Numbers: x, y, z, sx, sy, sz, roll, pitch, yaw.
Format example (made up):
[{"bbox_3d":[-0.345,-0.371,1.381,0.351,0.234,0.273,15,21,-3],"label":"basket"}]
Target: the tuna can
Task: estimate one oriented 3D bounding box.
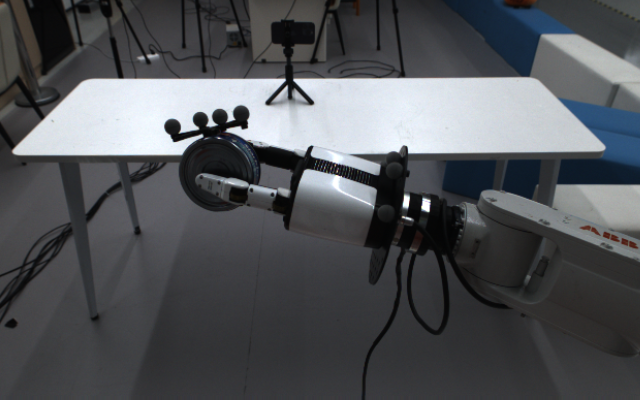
[{"bbox_3d":[-0.107,-0.025,0.537,0.085,0.085,0.034,6,18,5],"label":"tuna can"}]
